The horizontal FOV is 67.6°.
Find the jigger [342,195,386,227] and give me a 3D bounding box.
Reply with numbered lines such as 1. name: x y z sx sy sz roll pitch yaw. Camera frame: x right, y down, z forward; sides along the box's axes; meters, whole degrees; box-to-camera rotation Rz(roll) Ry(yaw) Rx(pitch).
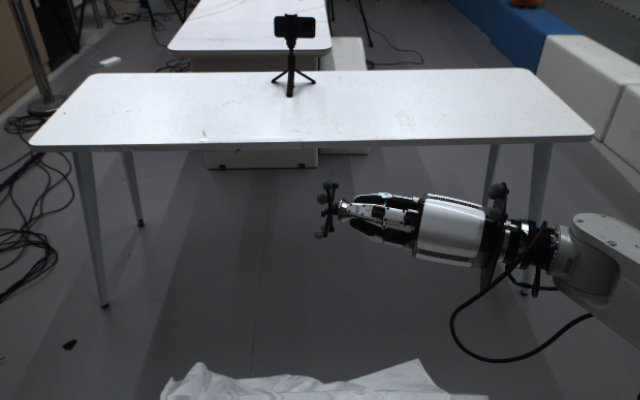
1. jigger: 0.071 0.017 0.724 0.071 0.043 0.043 6 35 14
